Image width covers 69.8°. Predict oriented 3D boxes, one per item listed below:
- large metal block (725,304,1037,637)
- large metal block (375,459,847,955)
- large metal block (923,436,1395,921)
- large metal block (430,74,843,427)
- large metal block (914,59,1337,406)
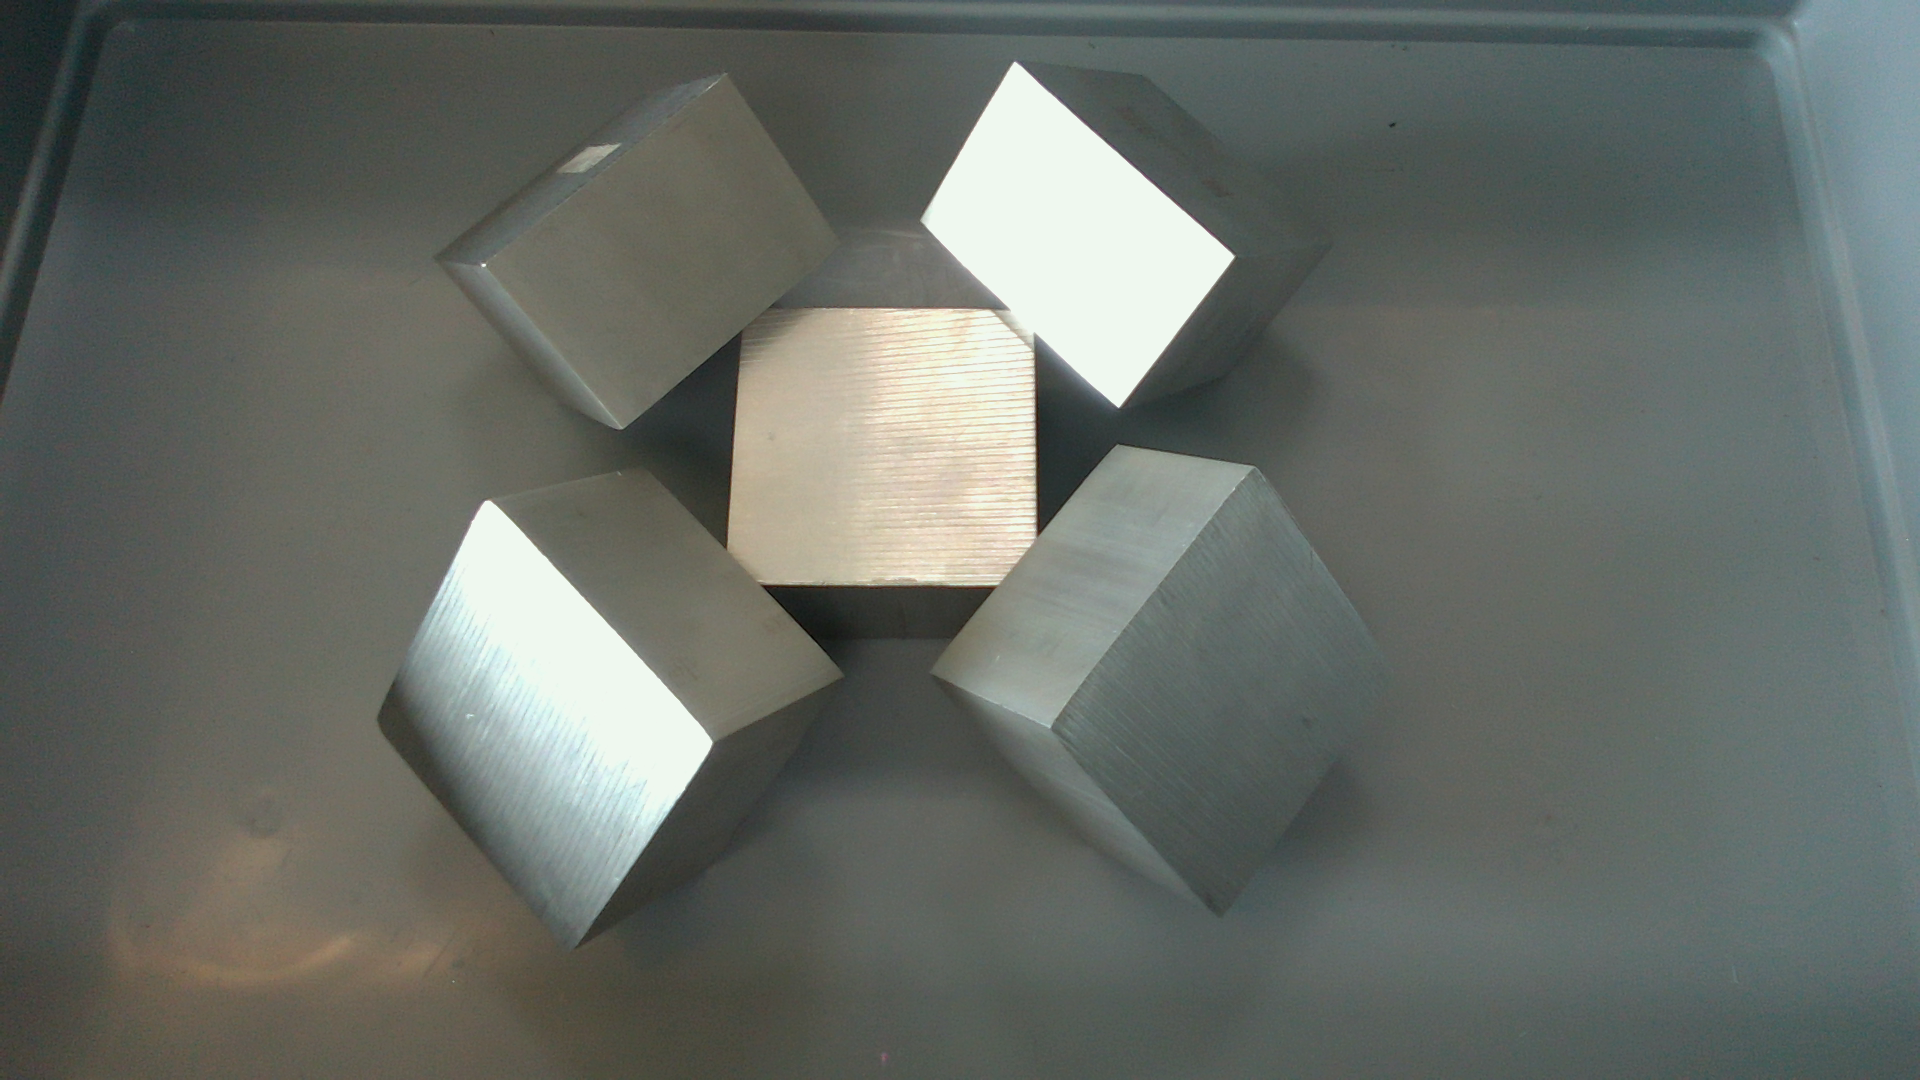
[{"bbox_3d":[-0.020,-0.018,0.386,0.080,0.050,0.080,1,70,0],"label":"large metal block"},{"bbox_3d":[-0.089,0.040,0.343,0.080,0.050,0.080,44,120,14],"label":"large metal block"},{"bbox_3d":[0.052,0.033,0.345,0.080,0.050,0.080,-50,122,-16],"label":"large metal block"},{"bbox_3d":[-0.092,-0.082,0.385,0.080,0.080,0.050,-44,119,-15],"label":"large metal block"},{"bbox_3d":[0.049,-0.089,0.391,0.080,0.050,0.080,45,33,15],"label":"large metal block"}]
